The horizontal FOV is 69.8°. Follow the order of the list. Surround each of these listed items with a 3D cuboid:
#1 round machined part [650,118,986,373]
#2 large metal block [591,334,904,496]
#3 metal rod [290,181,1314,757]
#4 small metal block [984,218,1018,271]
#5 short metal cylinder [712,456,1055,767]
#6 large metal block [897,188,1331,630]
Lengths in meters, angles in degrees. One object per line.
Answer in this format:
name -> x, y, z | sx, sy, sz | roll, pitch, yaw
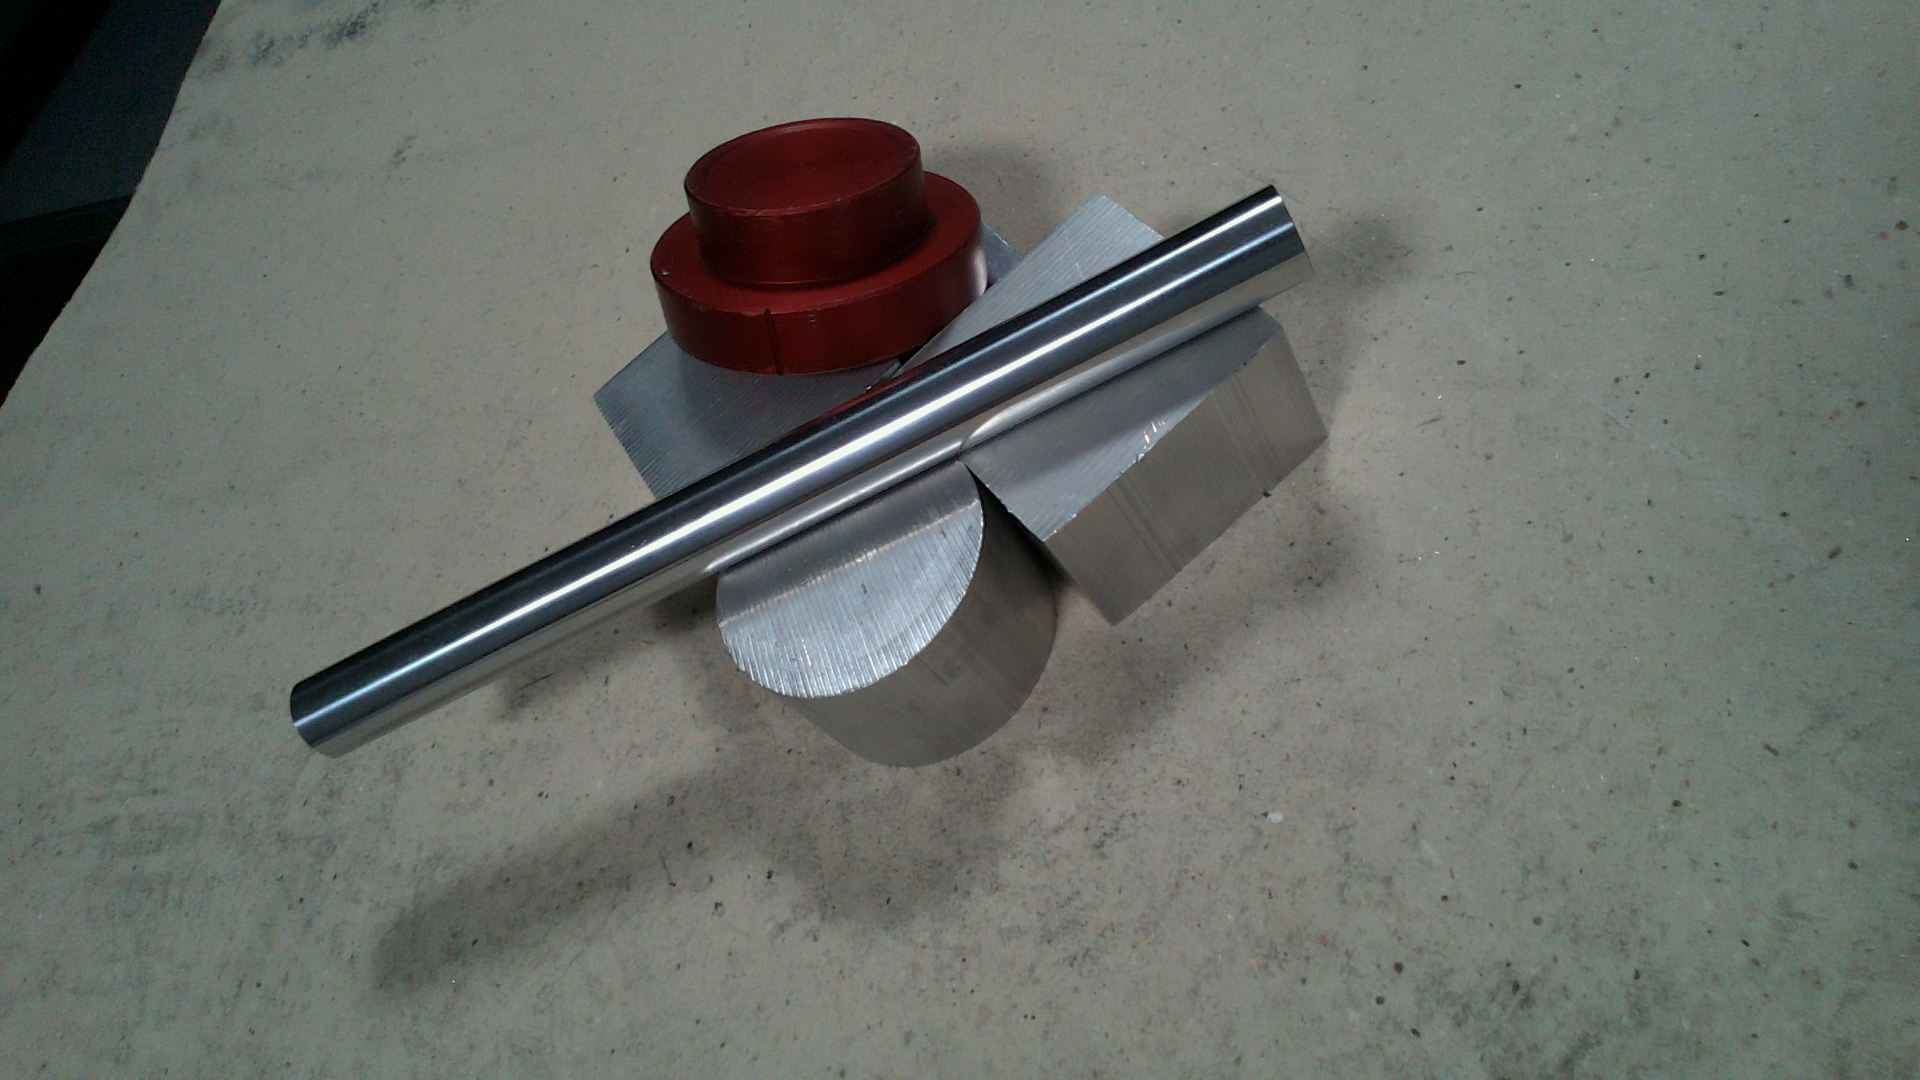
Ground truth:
round machined part -> -0.043, -0.092, 0.405 | 0.098, 0.042, 0.098 | -5, 36, 4
large metal block -> -0.056, -0.036, 0.429 | 0.080, 0.050, 0.080 | -41, 51, 1
metal rod -> -0.052, -0.012, 0.364 | 0.299, 0.025, 0.025 | -26, 52, 13
small metal block -> 0.006, -0.065, 0.430 | 0.050, 0.025, 0.050 | -40, 51, 1
short metal cylinder -> -0.020, 0.016, 0.378 | 0.080, 0.050, 0.080 | -14, 56, 21
large metal block -> 0.040, -0.037, 0.379 | 0.080, 0.050, 0.080 | -41, 51, 0
